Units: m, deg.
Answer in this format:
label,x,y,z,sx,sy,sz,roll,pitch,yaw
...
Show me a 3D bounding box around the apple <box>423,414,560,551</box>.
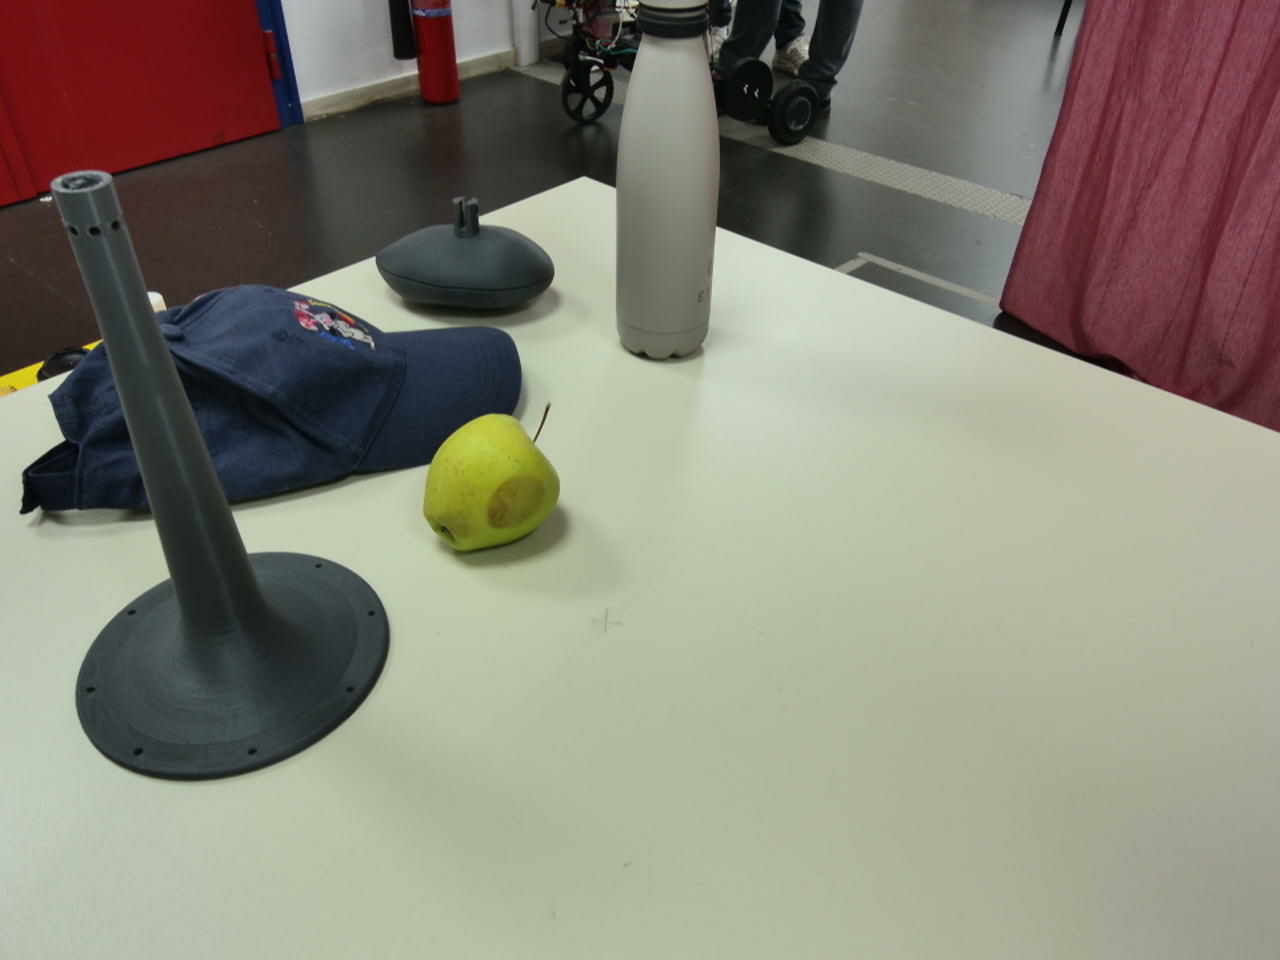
label,x,y,z,sx,sy,sz,roll,pitch,yaw
apple,-0.087,0.000,0.582,0.077,0.075,0.072,-3,37,-4
